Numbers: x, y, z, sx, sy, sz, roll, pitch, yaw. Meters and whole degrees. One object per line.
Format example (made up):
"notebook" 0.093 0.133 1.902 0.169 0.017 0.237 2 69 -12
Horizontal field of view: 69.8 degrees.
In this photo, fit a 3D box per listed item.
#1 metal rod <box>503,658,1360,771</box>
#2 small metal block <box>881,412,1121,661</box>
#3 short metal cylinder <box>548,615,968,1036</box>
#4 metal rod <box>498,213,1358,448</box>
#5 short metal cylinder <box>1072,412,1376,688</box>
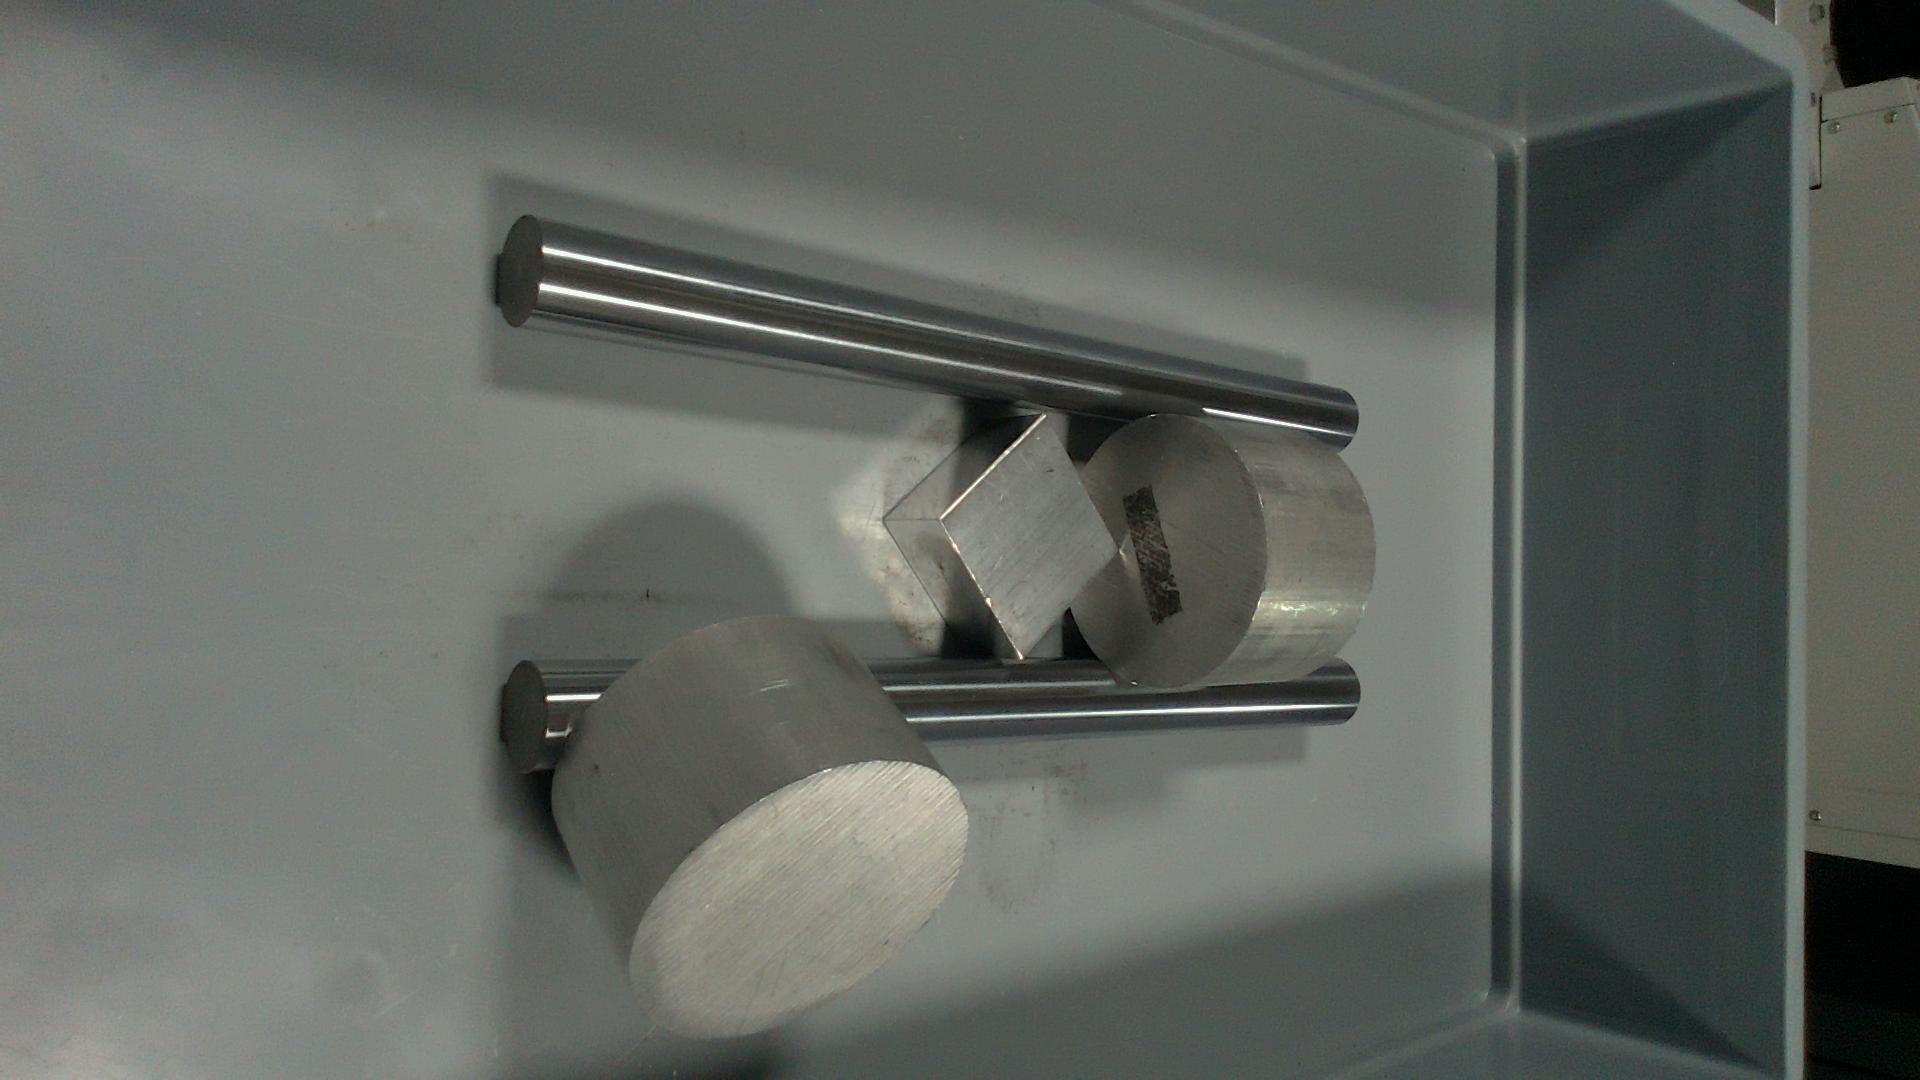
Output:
"metal rod" 0.019 0.047 0.402 0.301 0.025 0.025 4 88 -40
"small metal block" 0.013 -0.001 0.398 0.050 0.025 0.050 -45 117 -30
"short metal cylinder" -0.045 0.064 0.311 0.080 0.050 0.080 -21 135 -23
"metal rod" 0.018 -0.052 0.401 0.301 0.025 0.025 4 87 -40
"short metal cylinder" 0.077 0.004 0.416 0.050 0.080 0.080 2 89 -40
